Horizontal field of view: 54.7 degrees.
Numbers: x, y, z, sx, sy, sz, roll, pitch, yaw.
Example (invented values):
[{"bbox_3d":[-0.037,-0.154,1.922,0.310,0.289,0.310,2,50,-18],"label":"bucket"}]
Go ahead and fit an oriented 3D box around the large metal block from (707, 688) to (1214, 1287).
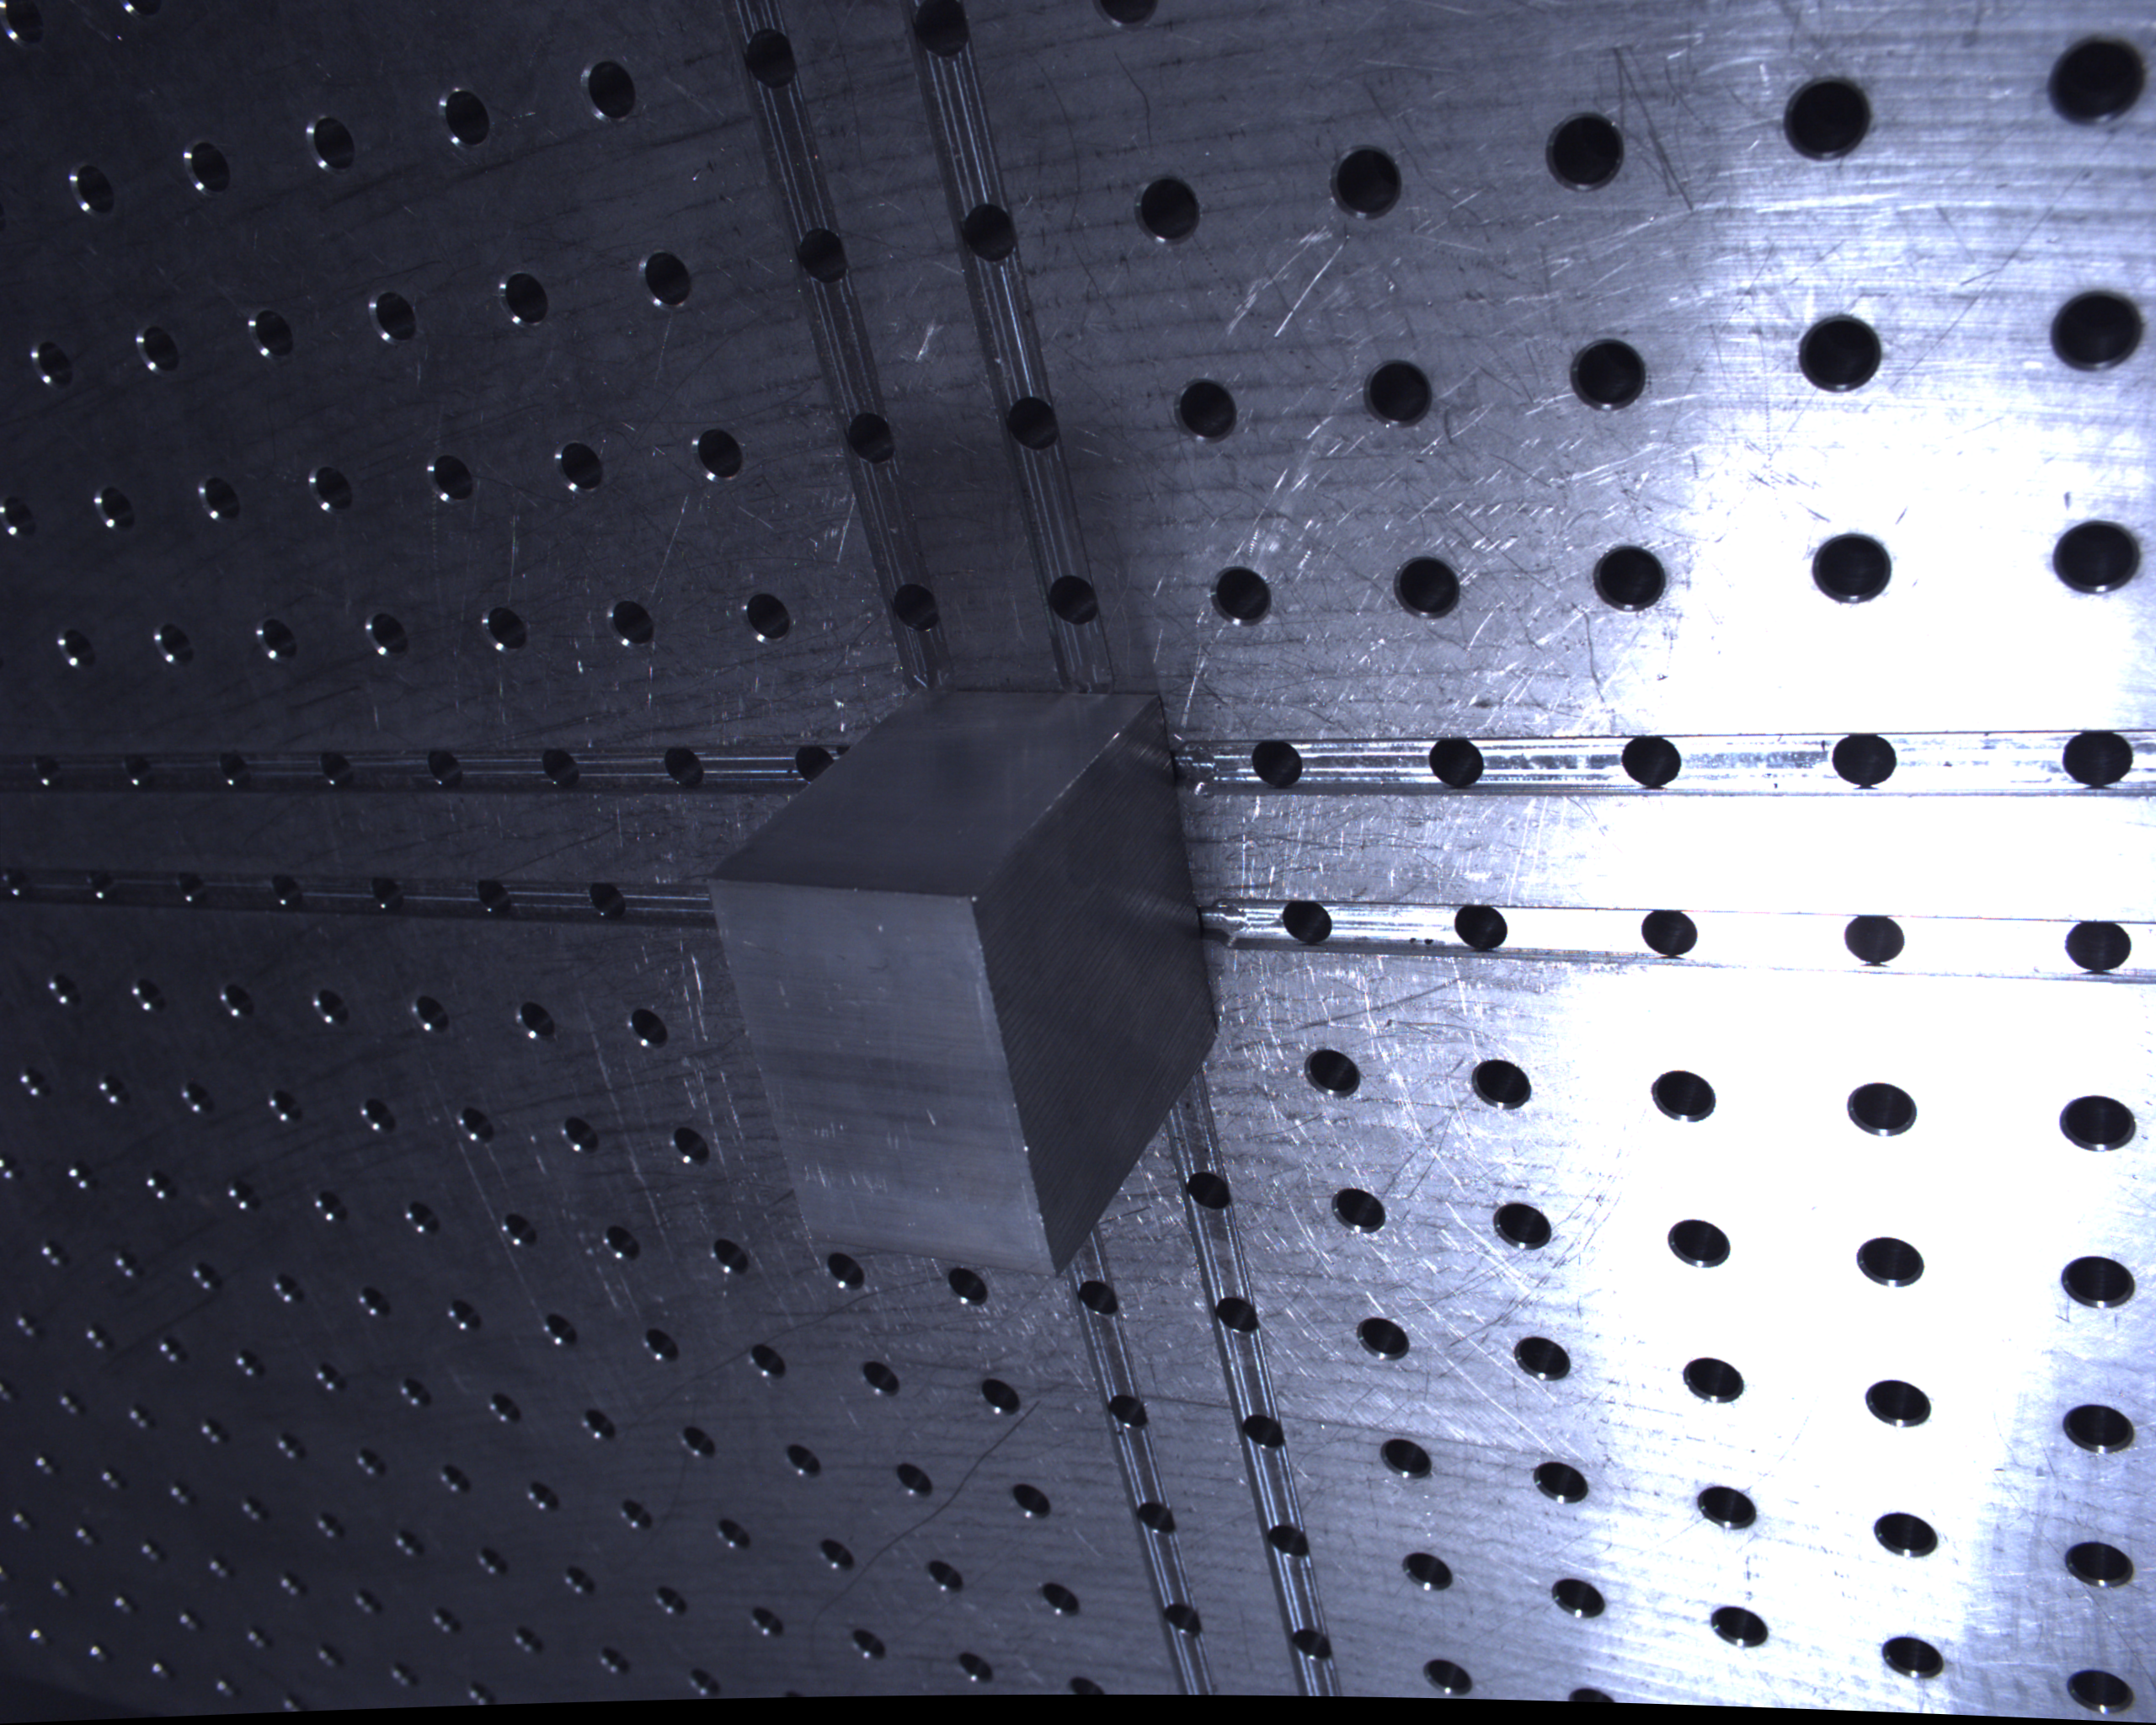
[{"bbox_3d":[-0.018,0.020,0.395,0.050,0.080,0.079,3,120,26],"label":"large metal block"}]
